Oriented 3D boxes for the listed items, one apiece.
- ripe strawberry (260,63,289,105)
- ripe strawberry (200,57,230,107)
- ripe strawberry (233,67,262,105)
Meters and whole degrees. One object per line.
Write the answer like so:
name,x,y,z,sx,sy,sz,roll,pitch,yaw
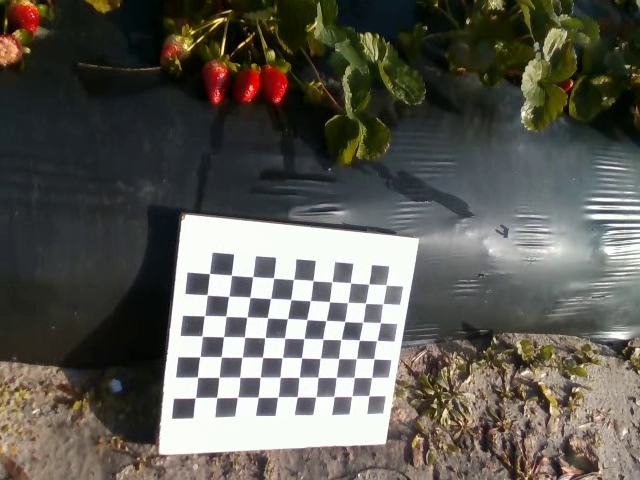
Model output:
ripe strawberry,-0.046,-0.150,0.580,0.035,0.041,0.033,0,-42,-18
ripe strawberry,-0.102,-0.154,0.564,0.032,0.045,0.023,4,-8,-18
ripe strawberry,-0.072,-0.152,0.567,0.031,0.036,0.039,15,29,-19
